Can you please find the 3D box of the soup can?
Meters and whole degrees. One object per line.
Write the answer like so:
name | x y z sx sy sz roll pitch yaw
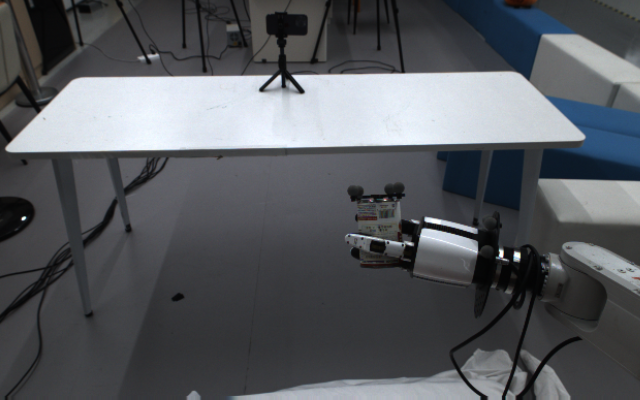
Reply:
soup can | 0.093 0.050 0.737 0.067 0.101 0.067 -3 -1 0
